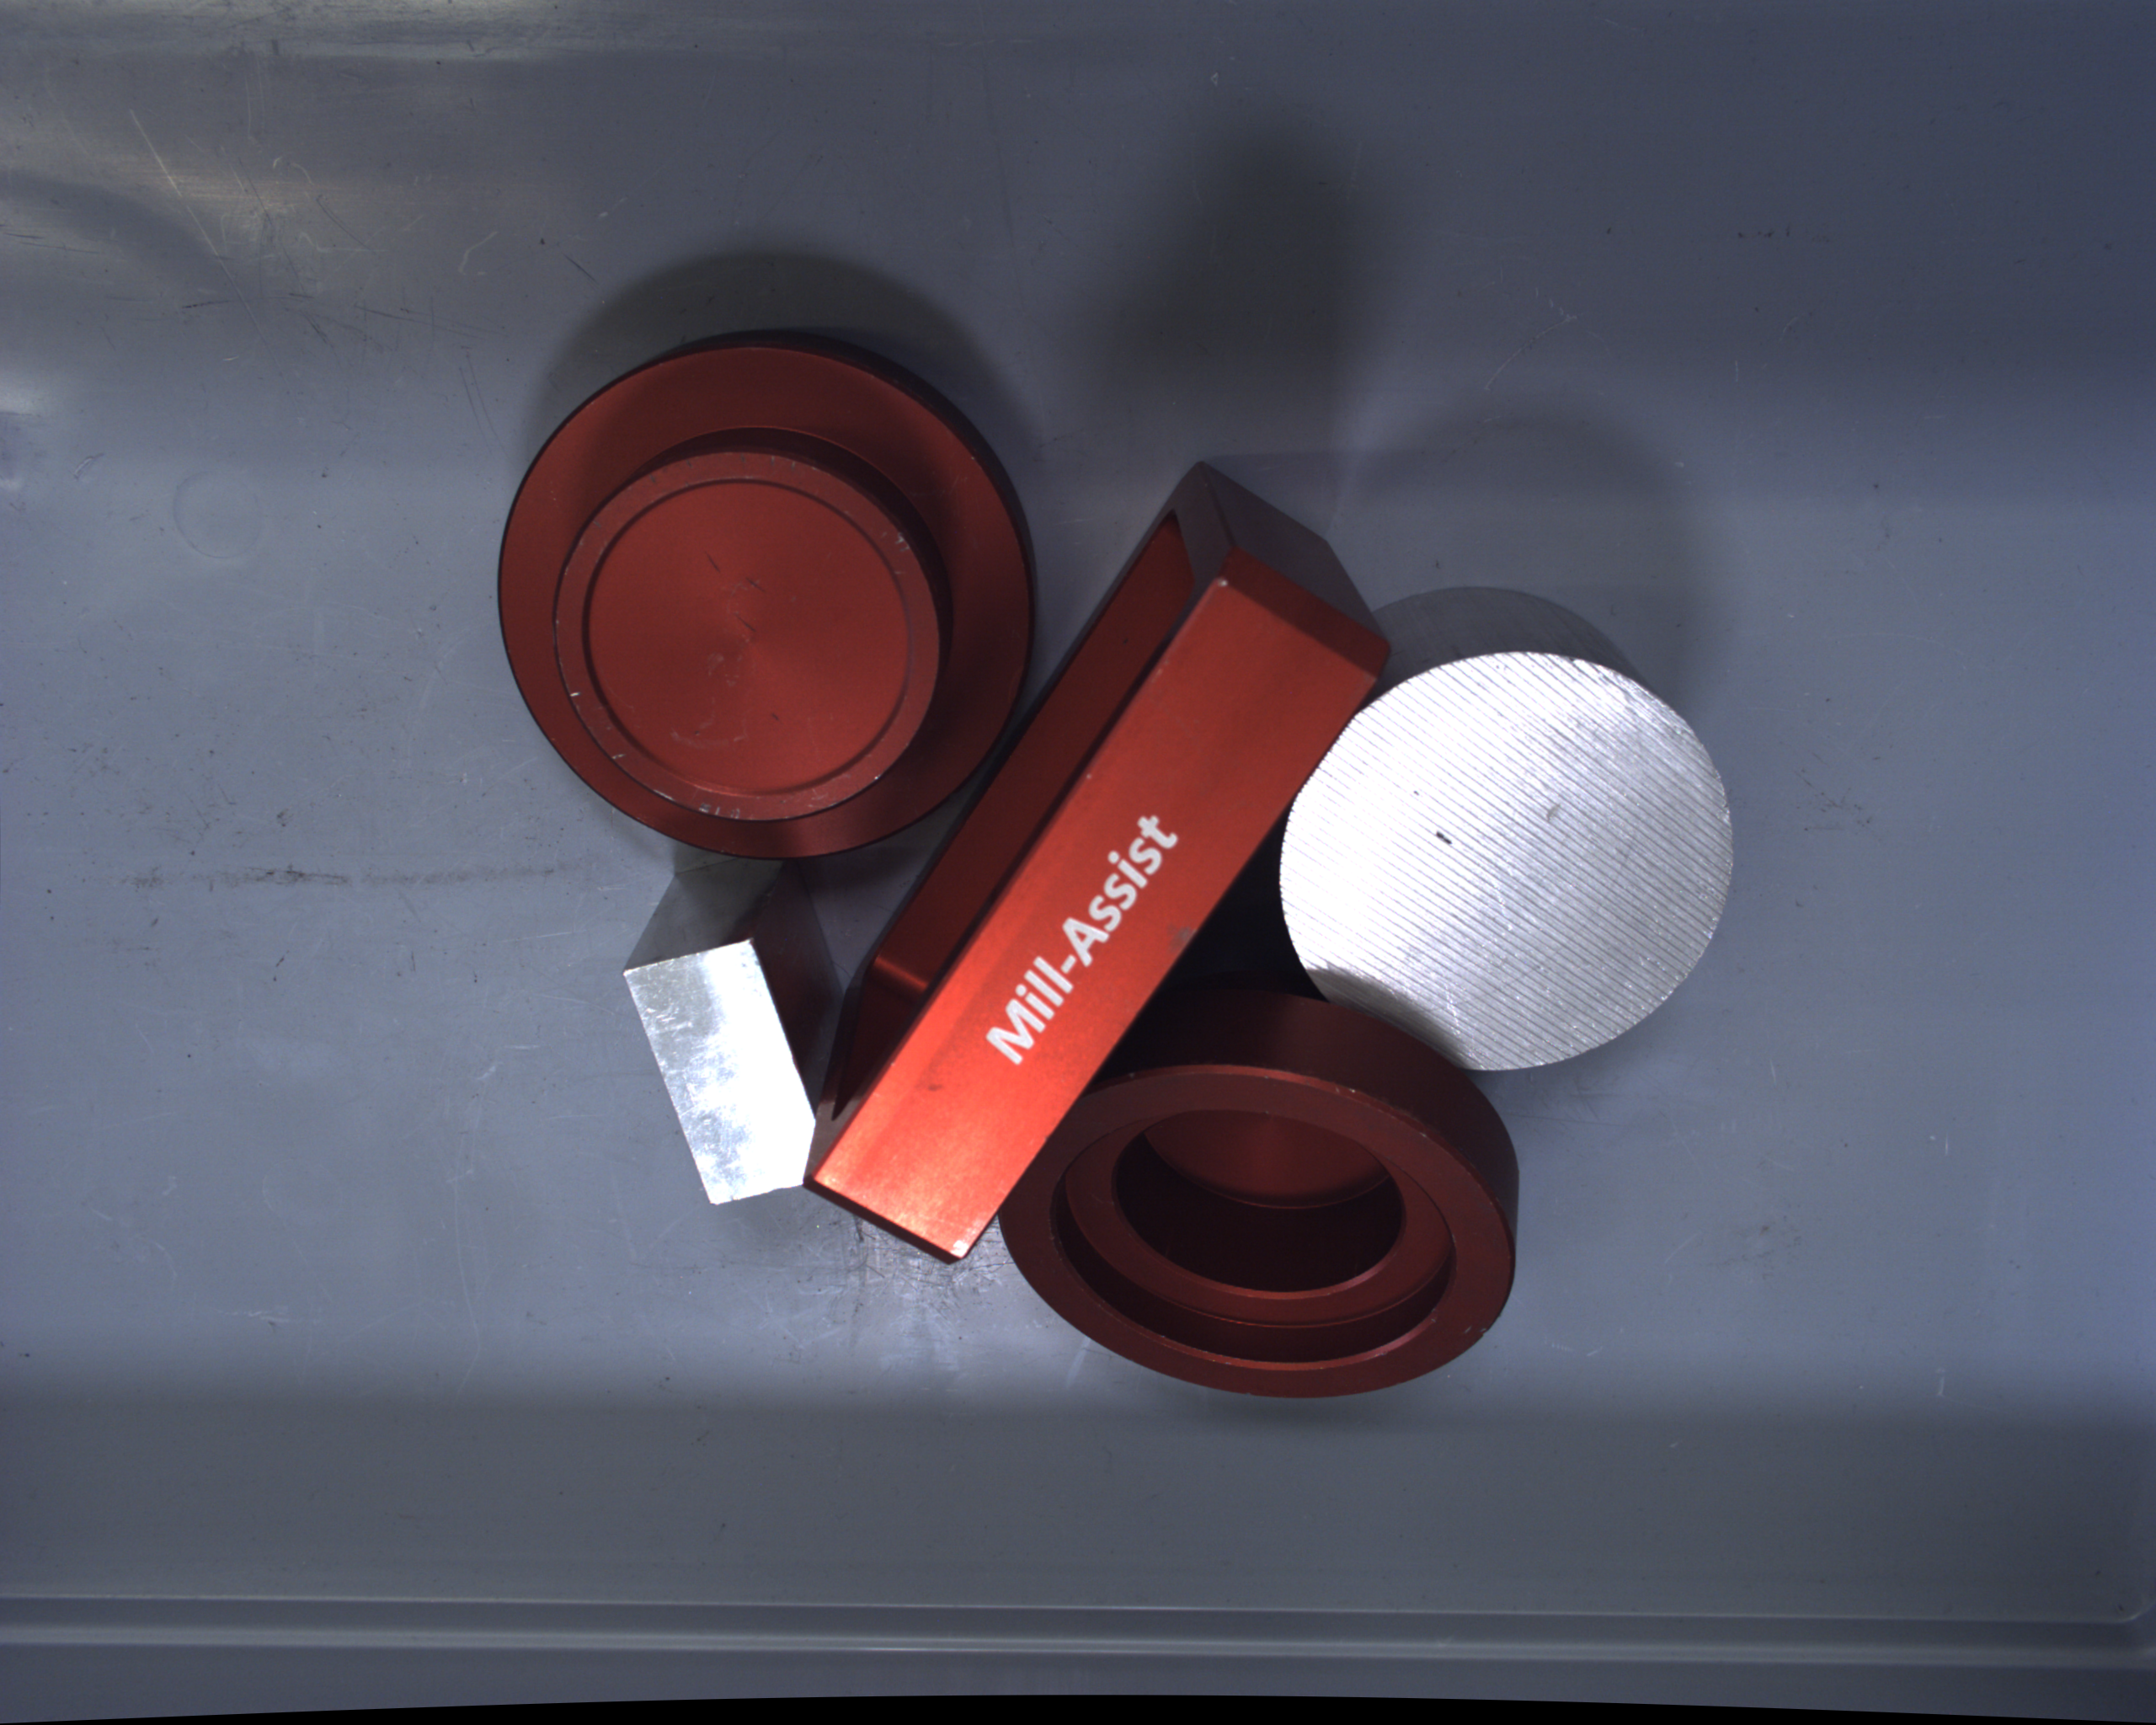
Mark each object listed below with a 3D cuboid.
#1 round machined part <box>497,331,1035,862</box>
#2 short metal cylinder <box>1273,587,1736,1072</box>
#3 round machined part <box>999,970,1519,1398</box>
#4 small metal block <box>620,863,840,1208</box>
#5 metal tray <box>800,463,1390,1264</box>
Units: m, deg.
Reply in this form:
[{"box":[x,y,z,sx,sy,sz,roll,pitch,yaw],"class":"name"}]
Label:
[{"box":[-0.057,-0.045,0.382,0.099,0.042,0.097,0,110,0],"class":"round machined part"},{"box":[0.076,-0.007,0.394,0.081,0.050,0.079,0,110,0],"class":"short metal cylinder"},{"box":[0.037,0.059,0.410,0.098,0.042,0.097,7,132,8],"class":"round machined part"},{"box":[-0.064,0.031,0.406,0.025,0.050,0.050,-14,110,5],"class":"small metal block"},{"box":[0.001,-0.003,0.373,0.030,0.090,0.129,31,107,-11],"class":"metal tray"}]
